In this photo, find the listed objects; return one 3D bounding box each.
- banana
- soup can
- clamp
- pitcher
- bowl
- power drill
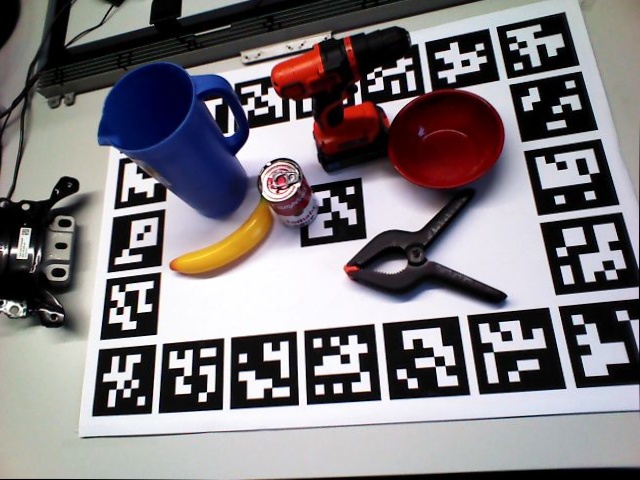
[{"bbox_3d":[-0.132,0.015,0.789,0.197,0.039,0.074,-32,57,1],"label":"banana"},{"bbox_3d":[-0.023,-0.061,0.750,0.068,0.102,0.067,-8,60,13],"label":"soup can"},{"bbox_3d":[0.153,0.033,0.693,0.204,0.036,0.164,-11,72,12],"label":"clamp"},{"bbox_3d":[-0.161,-0.125,0.734,0.189,0.242,0.133,-31,62,3],"label":"pitcher"},{"bbox_3d":[0.200,-0.123,0.732,0.162,0.055,0.161,-5,71,14],"label":"bowl"},{"bbox_3d":[0.070,-0.189,0.701,0.185,0.187,0.057,-13,68,10],"label":"power drill"}]
